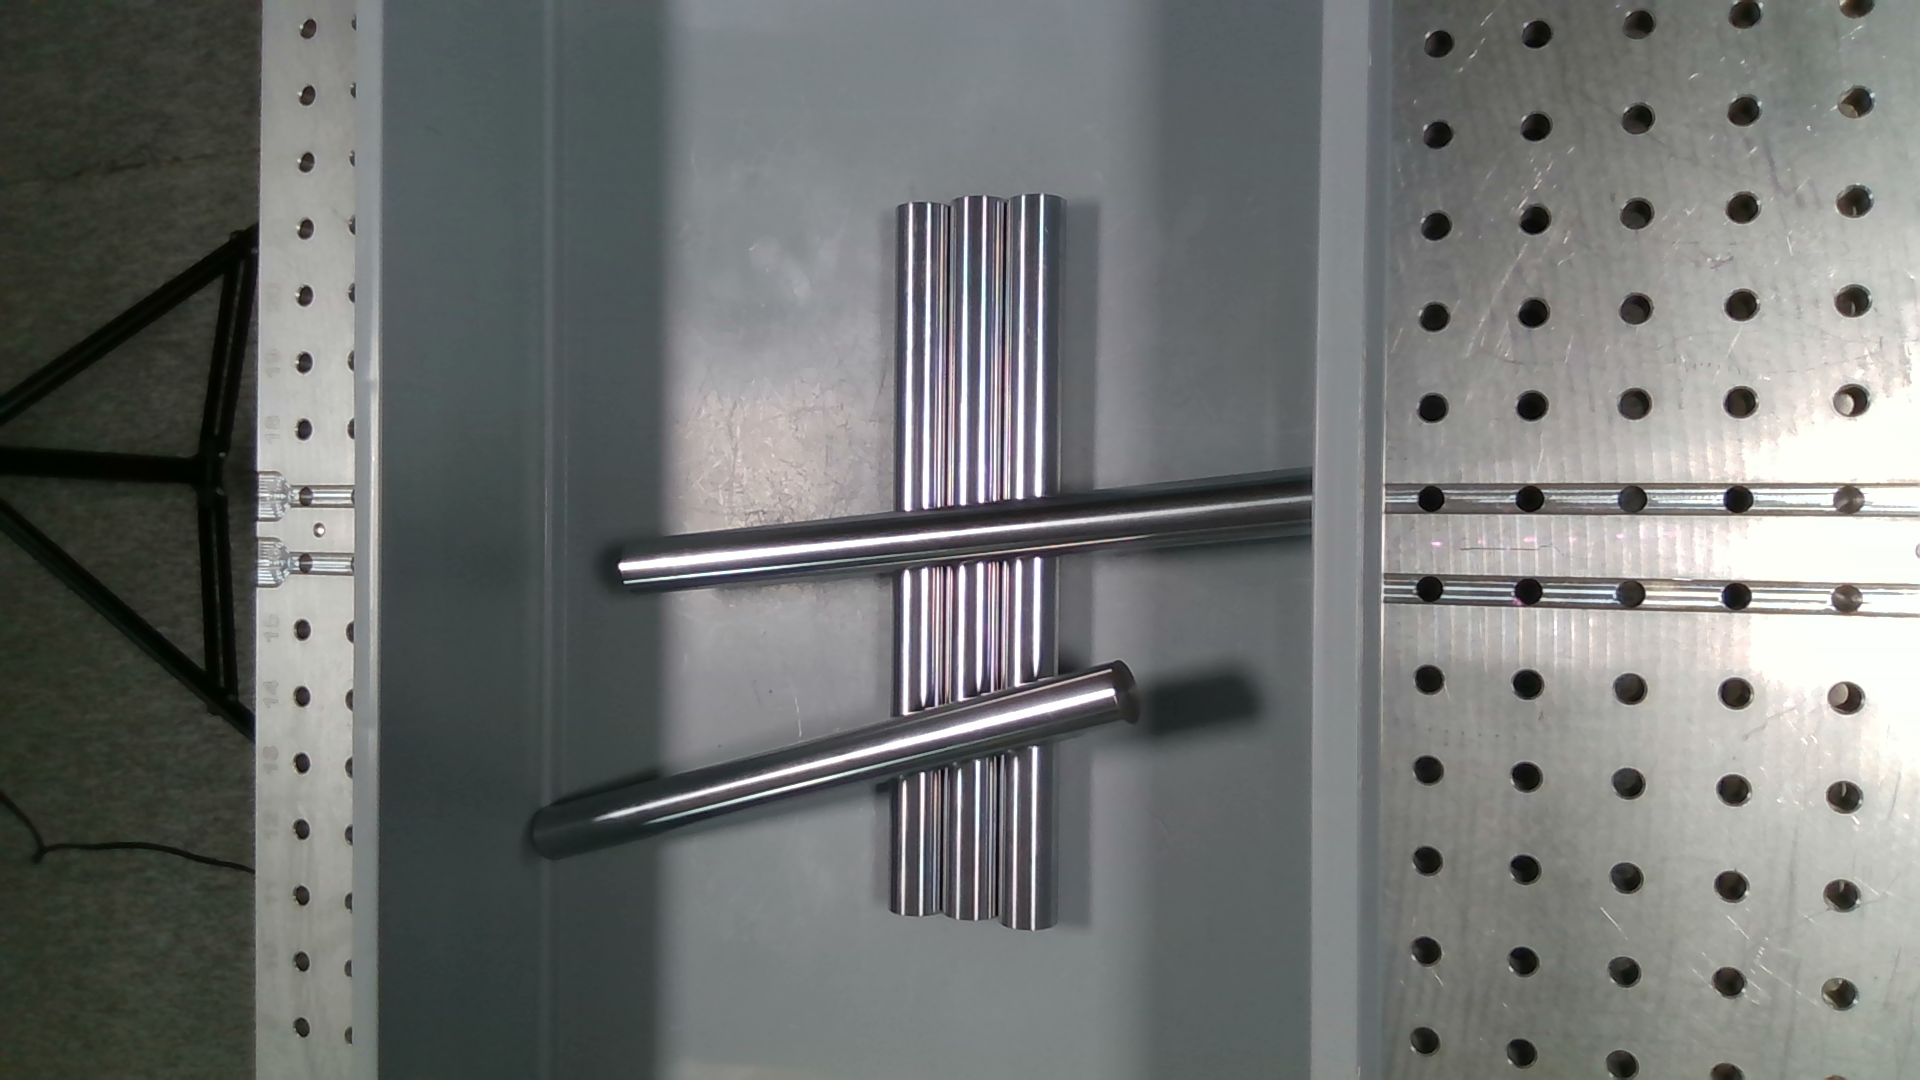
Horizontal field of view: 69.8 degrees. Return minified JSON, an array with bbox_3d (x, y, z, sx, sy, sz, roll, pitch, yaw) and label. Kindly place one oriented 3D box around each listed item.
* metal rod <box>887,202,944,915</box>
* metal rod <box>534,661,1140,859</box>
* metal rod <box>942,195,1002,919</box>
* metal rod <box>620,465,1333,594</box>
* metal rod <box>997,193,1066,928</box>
[{"bbox_3d":[-0.017,0.008,0.591,0.025,0.025,0.300,1,91,20],"label":"metal rod"},{"bbox_3d":[-0.065,0.099,0.588,0.300,0.025,0.025,-18,84,26],"label":"metal rod"},{"bbox_3d":[0.006,0.007,0.582,0.025,0.025,0.300,1,91,20],"label":"metal rod"},{"bbox_3d":[-0.004,-0.002,0.559,0.300,0.025,0.025,-6,88,20],"label":"metal rod"},{"bbox_3d":[0.030,0.009,0.574,0.025,0.025,0.300,1,91,20],"label":"metal rod"}]
